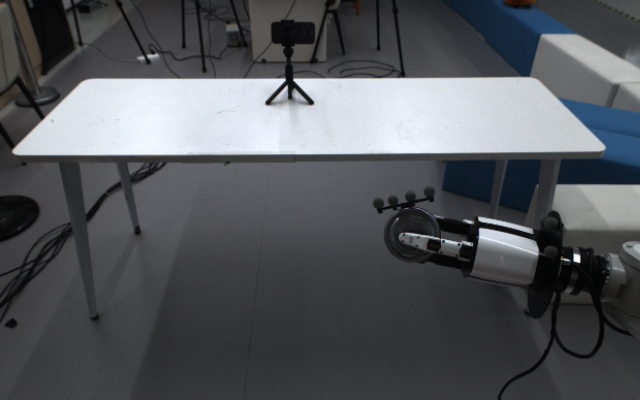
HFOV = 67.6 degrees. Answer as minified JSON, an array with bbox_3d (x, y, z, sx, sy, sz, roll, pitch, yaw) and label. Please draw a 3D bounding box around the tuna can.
[{"bbox_3d":[0.144,0.051,0.742,0.085,0.085,0.034,12,3,14],"label":"tuna can"}]
